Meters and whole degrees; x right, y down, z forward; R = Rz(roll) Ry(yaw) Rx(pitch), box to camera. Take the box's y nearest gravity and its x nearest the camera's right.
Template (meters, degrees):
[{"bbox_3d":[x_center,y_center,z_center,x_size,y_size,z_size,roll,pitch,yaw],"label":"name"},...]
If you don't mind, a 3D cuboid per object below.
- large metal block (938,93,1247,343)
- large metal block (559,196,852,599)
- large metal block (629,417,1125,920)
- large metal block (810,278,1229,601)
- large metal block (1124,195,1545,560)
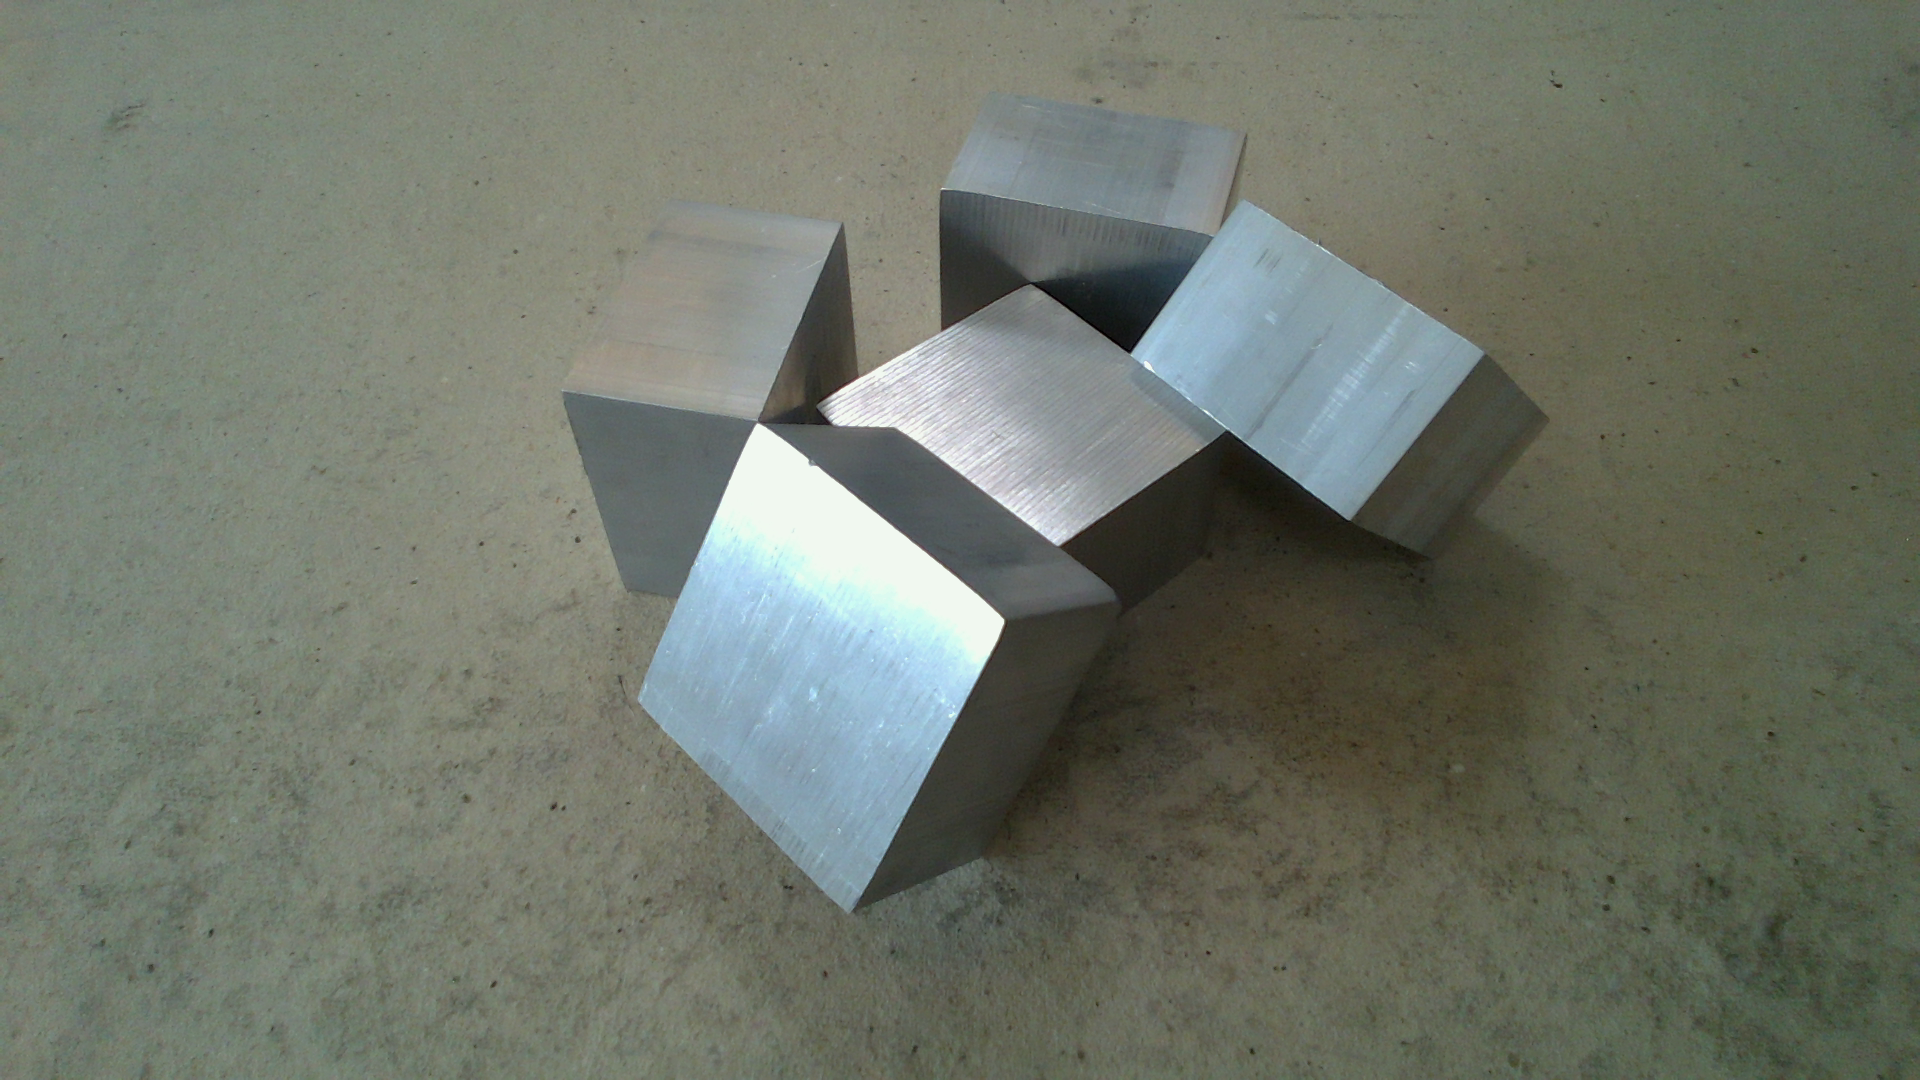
[{"bbox_3d":[0.039,-0.084,0.427,0.080,0.080,0.050,12,51,10],"label":"large metal block"},{"bbox_3d":[-0.065,-0.037,0.388,0.050,0.080,0.080,9,51,8],"label":"large metal block"},{"bbox_3d":[-0.022,0.027,0.325,0.080,0.080,0.050,38,23,28],"label":"large metal block"},{"bbox_3d":[0.016,-0.018,0.388,0.080,0.050,0.080,-34,59,-25],"label":"large metal block"},{"bbox_3d":[0.106,-0.043,0.384,0.080,0.080,0.050,43,106,30],"label":"large metal block"}]
